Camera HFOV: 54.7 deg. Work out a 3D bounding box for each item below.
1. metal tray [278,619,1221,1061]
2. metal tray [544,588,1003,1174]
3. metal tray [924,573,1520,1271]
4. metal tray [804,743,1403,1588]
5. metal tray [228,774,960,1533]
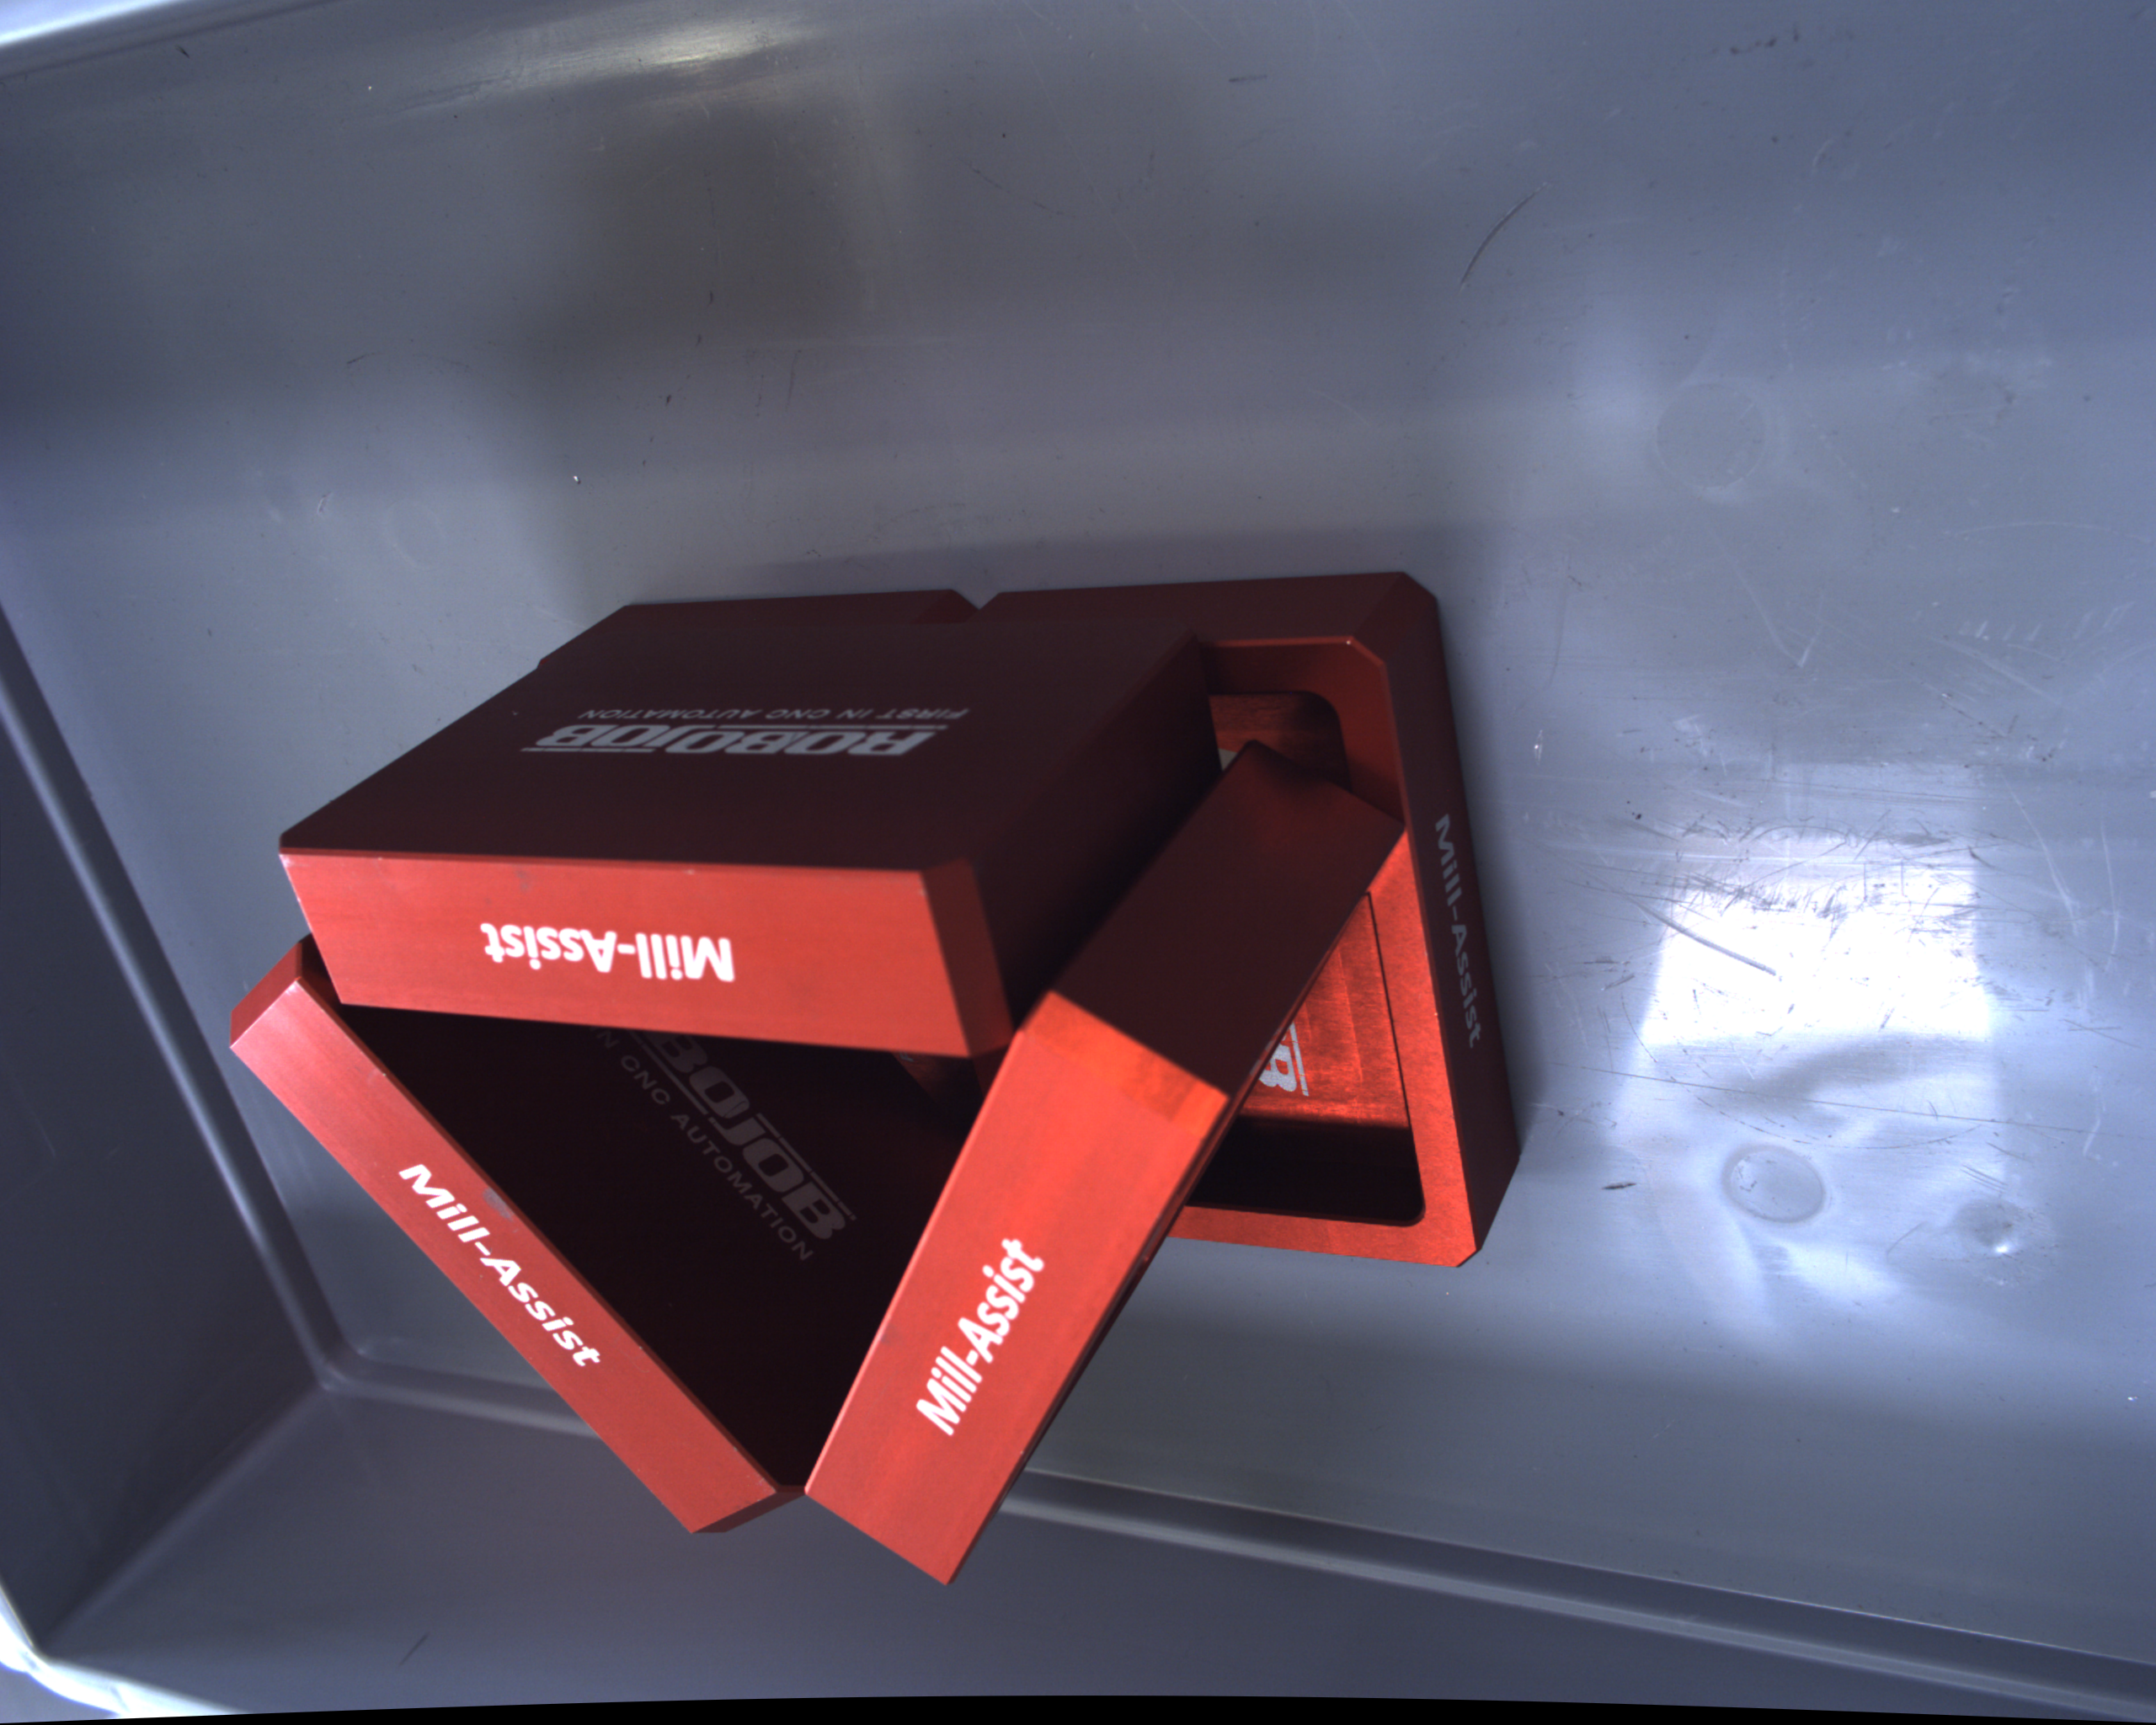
[{"bbox_3d":[-0.053,-0.008,0.347,0.130,0.090,0.030,2,120,27],"label":"metal tray"},{"bbox_3d":[-0.052,0.010,0.439,0.090,0.030,0.129,1,118,28],"label":"metal tray"},{"bbox_3d":[0.029,0.012,0.396,0.090,0.030,0.129,1,118,28],"label":"metal tray"},{"bbox_3d":[0.003,0.052,0.355,0.030,0.090,0.129,31,129,8],"label":"metal tray"},{"bbox_3d":[-0.082,0.050,0.399,0.130,0.090,0.030,49,129,-7],"label":"metal tray"}]
